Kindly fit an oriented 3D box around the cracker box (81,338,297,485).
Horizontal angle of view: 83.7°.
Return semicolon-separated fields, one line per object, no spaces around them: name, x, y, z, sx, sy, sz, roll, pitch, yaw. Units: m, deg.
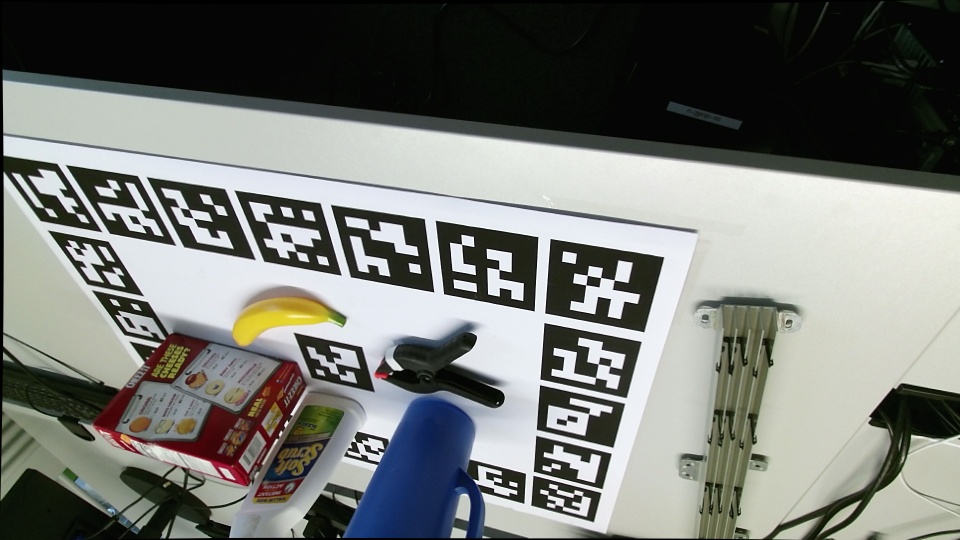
cracker box;-0.401;0.199;0.761;0.214;0.163;0.072;10;137;9

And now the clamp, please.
clamp;-0.061;0.134;0.682;0.165;0.036;0.122;-2;132;24

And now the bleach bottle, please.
bleach bottle;-0.258;0.298;0.762;0.103;0.250;0.068;10;135;12

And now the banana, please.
banana;-0.272;0.073;0.716;0.198;0.038;0.074;-19;123;33

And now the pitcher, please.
pitcher;-0.083;0.314;0.683;0.189;0.242;0.133;-3;131;26
